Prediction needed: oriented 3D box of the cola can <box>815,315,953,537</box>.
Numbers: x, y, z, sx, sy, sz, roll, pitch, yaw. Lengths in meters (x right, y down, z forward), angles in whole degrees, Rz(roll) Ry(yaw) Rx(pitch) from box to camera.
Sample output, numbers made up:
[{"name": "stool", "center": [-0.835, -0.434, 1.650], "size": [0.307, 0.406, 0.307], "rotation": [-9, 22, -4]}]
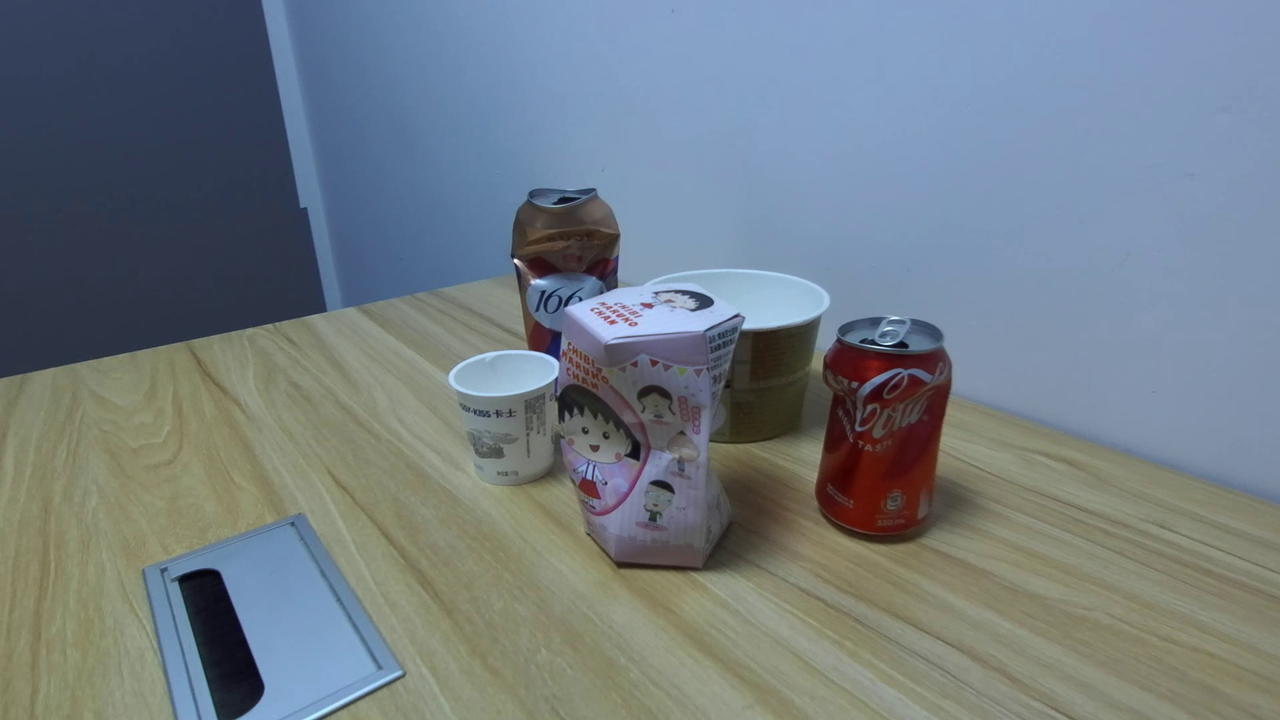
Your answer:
[{"name": "cola can", "center": [0.134, 0.036, 0.393], "size": [0.066, 0.117, 0.066], "rotation": [-6, 22, -12]}]

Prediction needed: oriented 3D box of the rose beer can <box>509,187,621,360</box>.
[{"name": "rose beer can", "center": [-0.054, -0.051, 0.553], "size": [0.074, 0.162, 0.067], "rotation": [-13, 23, -24]}]

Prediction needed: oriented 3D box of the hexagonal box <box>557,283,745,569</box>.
[{"name": "hexagonal box", "center": [0.007, 0.033, 0.383], "size": [0.088, 0.135, 0.093], "rotation": [9, 25, 23]}]

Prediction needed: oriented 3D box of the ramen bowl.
[{"name": "ramen bowl", "center": [0.065, -0.004, 0.523], "size": [0.140, 0.095, 0.140], "rotation": [0, 21, 0]}]

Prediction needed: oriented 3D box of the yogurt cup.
[{"name": "yogurt cup", "center": [-0.084, 0.039, 0.461], "size": [0.072, 0.068, 0.072], "rotation": [-2, 23, 1]}]
